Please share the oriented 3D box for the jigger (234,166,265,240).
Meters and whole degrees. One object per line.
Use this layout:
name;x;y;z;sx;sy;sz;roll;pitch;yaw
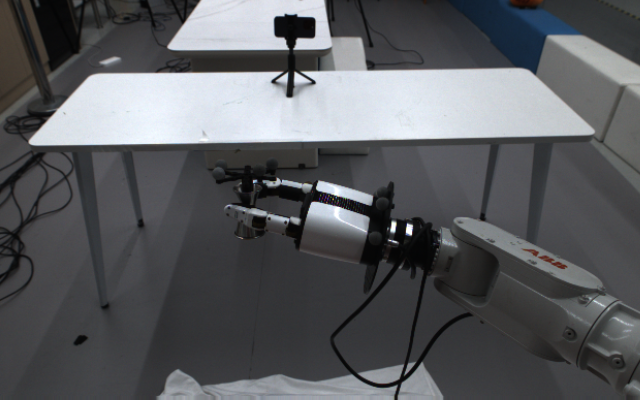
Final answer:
jigger;-0.099;0.015;0.672;0.043;0.071;0.043;0;21;0
